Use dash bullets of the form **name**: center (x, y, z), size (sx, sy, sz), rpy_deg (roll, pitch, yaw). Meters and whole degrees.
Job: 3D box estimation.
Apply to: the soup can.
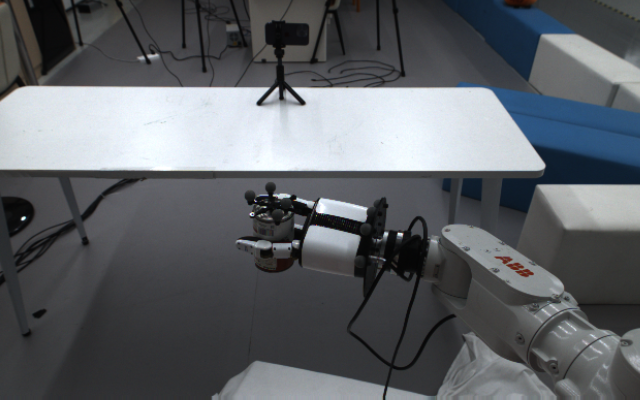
- **soup can**: center (-0.074, 0.058, 0.776), size (0.067, 0.101, 0.067), rpy_deg (2, 32, -1)
